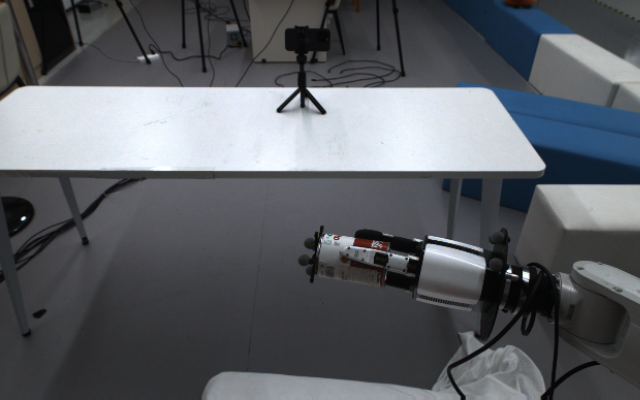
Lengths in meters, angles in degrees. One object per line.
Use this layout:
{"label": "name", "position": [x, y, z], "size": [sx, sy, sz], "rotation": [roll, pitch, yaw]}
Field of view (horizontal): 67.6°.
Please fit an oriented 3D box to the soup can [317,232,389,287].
{"label": "soup can", "position": [0.052, 0.089, 0.717], "size": [0.101, 0.067, 0.067], "rotation": [7, 35, 10]}
